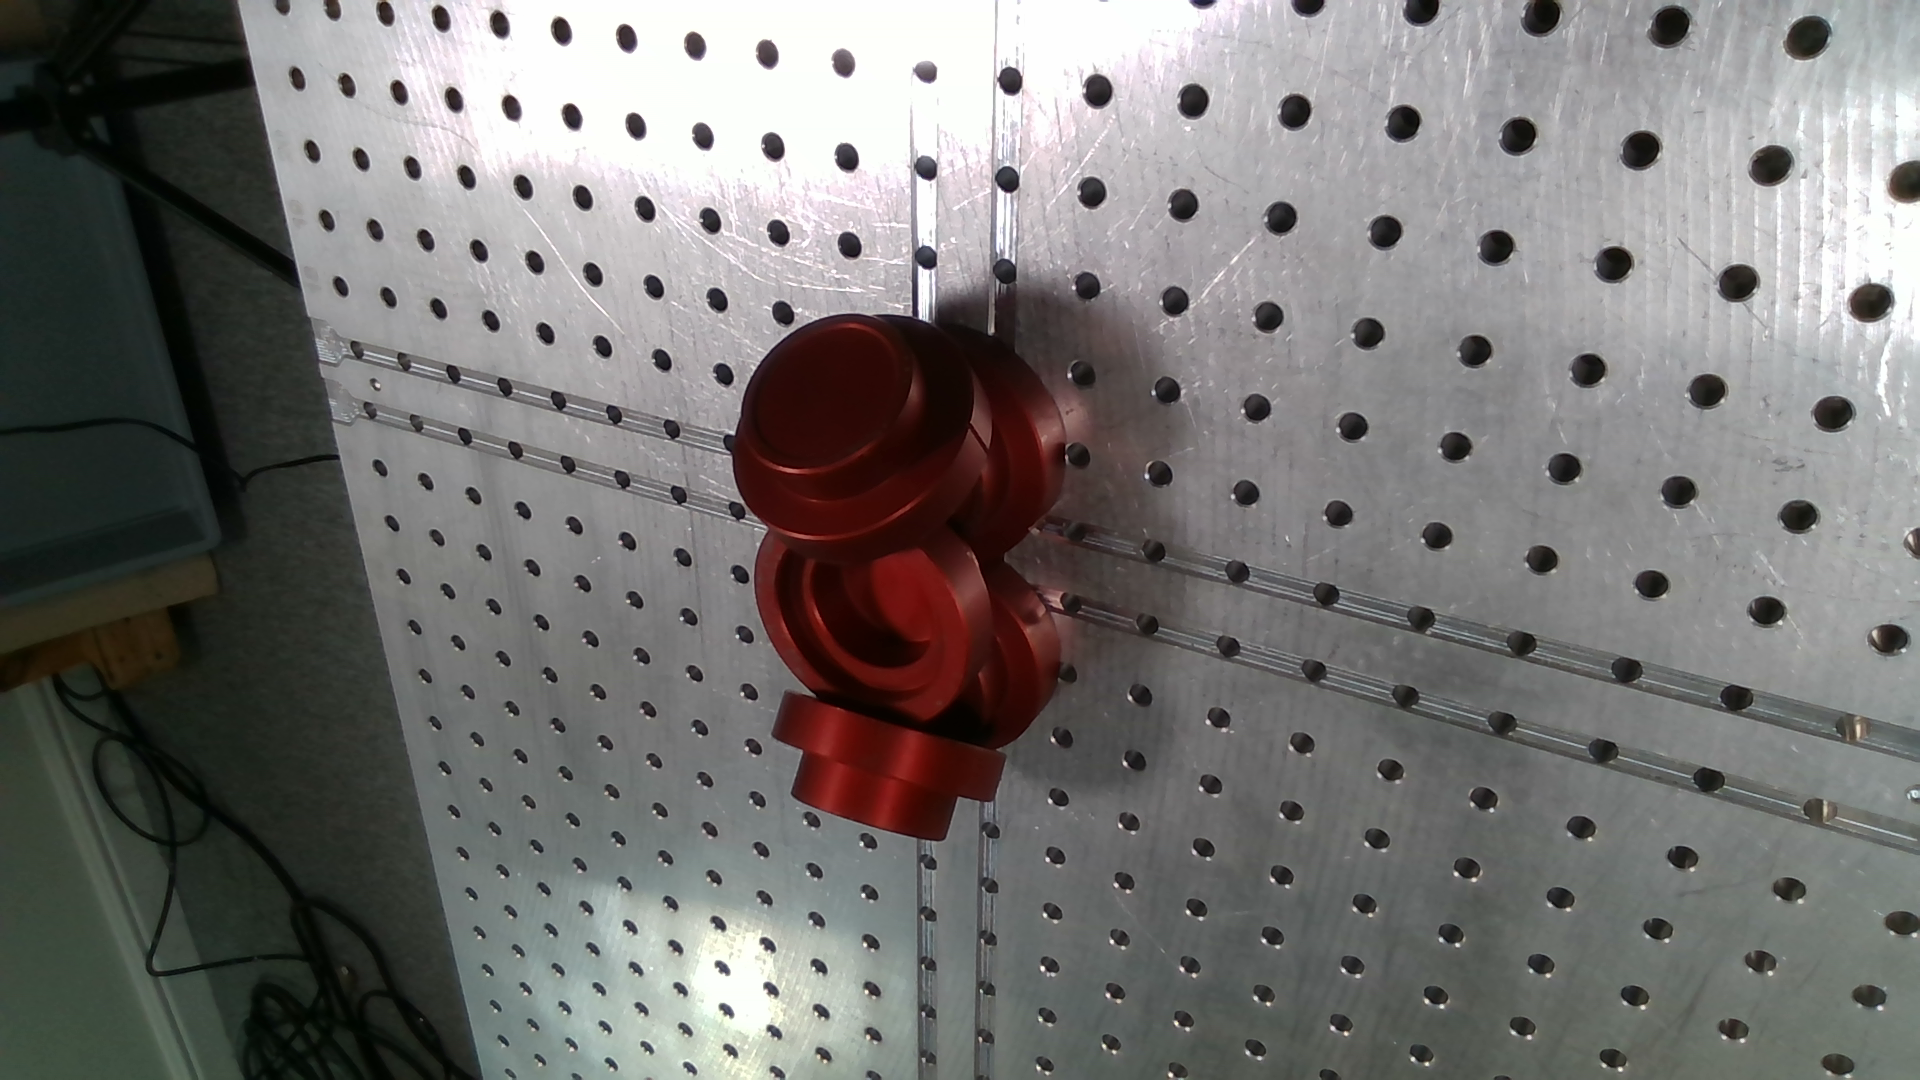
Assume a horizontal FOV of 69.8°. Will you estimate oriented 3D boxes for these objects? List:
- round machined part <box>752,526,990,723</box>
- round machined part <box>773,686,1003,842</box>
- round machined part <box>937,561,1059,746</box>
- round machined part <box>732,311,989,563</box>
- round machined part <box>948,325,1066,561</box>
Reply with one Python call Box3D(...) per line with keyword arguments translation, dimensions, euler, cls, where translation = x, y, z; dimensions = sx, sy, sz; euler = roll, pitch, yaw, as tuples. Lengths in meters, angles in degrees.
Box3D(translation=(-0.031, 0.022, 0.547), dimensions=(0.098, 0.042, 0.098), euler=(14, 122, 25), cls="round machined part")
Box3D(translation=(-0.033, 0.096, 0.579), dimensions=(0.098, 0.098, 0.042), euler=(14, 81, 25), cls="round machined part")
Box3D(translation=(-0.009, 0.052, 0.606), dimensions=(0.098, 0.042, 0.098), euler=(14, 122, 25), cls="round machined part")
Box3D(translation=(-0.041, -0.044, 0.507), dimensions=(0.098, 0.098, 0.042), euler=(9, 157, 28), cls="round machined part")
Box3D(translation=(-0.010, -0.034, 0.559), dimensions=(0.098, 0.042, 0.098), euler=(14, 122, 25), cls="round machined part")
